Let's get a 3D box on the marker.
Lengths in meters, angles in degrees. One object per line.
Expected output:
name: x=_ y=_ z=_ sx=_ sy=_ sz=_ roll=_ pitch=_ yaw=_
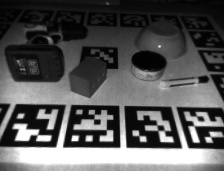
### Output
marker: x=0.169 y=-0.012 z=0.509 sx=0.121 sy=0.020 sz=0.019 roll=-5 pitch=47 yaw=-10

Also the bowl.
bowl: x=0.134 y=-0.144 z=0.632 sx=0.161 sy=0.055 sz=0.161 roll=0 pitch=38 yaw=1

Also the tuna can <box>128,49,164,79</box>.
tuna can: x=0.084 y=-0.055 z=0.538 sx=0.086 sy=0.034 sz=0.085 roll=4 pitch=44 yaw=-3

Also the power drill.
power drill: x=-0.176 y=-0.102 z=0.556 sx=0.185 sy=0.057 sz=0.186 roll=3 pitch=42 yaw=-6

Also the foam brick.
foam brick: x=-0.061 y=-0.017 z=0.485 sx=0.051 sy=0.053 sz=0.078 roll=20 pitch=48 yaw=14
